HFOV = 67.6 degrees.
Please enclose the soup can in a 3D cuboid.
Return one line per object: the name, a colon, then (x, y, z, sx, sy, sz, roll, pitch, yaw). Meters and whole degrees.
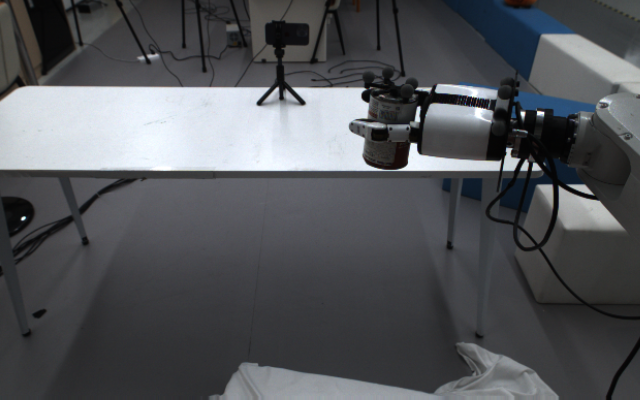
soup can: (0.099, -0.103, 0.686, 0.067, 0.101, 0.067, 3, 30, -2)
